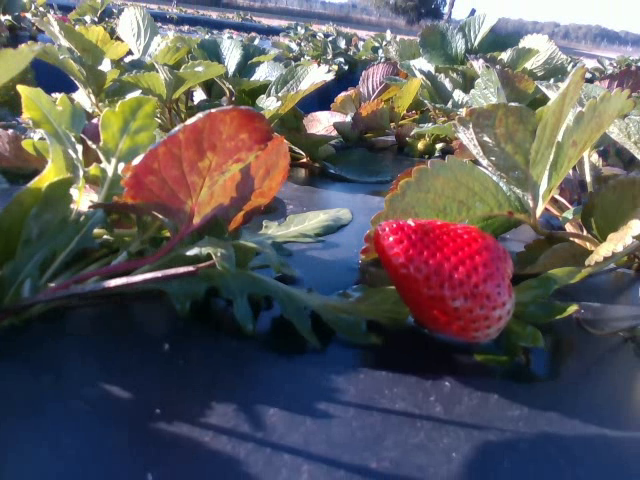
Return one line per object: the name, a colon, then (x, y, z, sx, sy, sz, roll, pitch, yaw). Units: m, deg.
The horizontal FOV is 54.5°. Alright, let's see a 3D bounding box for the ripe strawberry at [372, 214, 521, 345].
ripe strawberry: (0.034, 0.009, 0.177, 0.053, 0.043, 0.036, 26, -38, -14)
